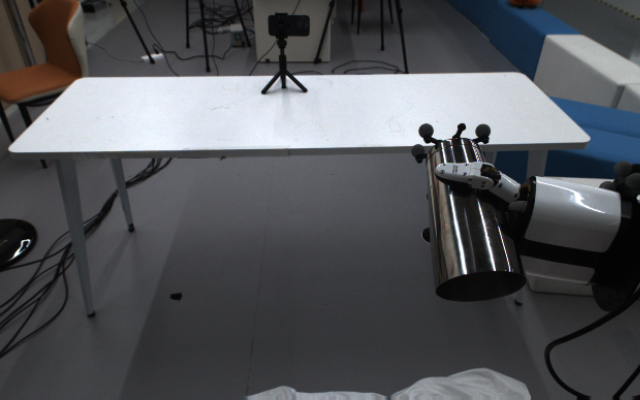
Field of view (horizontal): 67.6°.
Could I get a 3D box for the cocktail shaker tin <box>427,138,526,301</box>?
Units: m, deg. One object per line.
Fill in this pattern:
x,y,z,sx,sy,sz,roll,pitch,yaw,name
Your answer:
0.163,0.017,0.540,0.093,0.093,0.170,0,59,-3,cocktail shaker tin
